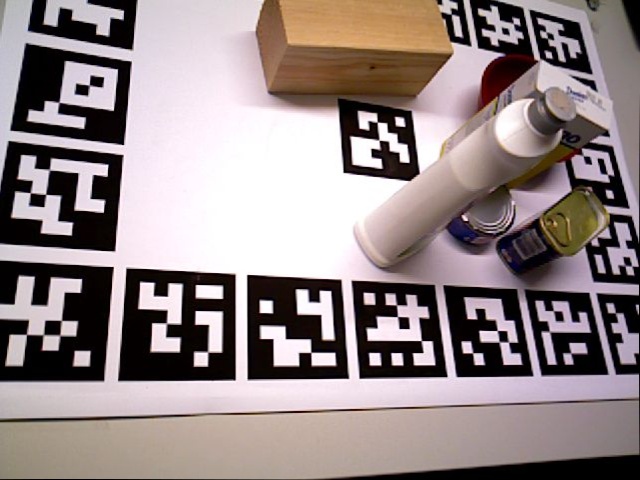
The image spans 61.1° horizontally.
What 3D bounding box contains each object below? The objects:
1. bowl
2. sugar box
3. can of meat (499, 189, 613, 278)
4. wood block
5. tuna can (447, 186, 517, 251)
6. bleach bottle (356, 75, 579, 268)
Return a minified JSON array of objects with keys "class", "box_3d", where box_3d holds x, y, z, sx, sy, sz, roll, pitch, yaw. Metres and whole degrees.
[{"class":"bowl","box_3d":[0.273,-0.158,0.705,0.160,0.056,0.160,6,67,-15]},{"class":"sugar box","box_3d":[0.225,-0.112,0.596,0.092,0.180,0.044,24,64,-7]},{"class":"can of meat","box_3d":[0.270,-0.007,0.632,0.100,0.085,0.058,-27,77,-30]},{"class":"wood block","box_3d":[0.035,-0.228,0.625,0.203,0.091,0.090,-4,75,-23]},{"class":"tuna can","box_3d":[0.183,-0.031,0.630,0.085,0.034,0.085,6,71,-18]},{"class":"bleach bottle","box_3d":[0.128,-0.056,0.497,0.100,0.256,0.068,-22,77,-27]}]
